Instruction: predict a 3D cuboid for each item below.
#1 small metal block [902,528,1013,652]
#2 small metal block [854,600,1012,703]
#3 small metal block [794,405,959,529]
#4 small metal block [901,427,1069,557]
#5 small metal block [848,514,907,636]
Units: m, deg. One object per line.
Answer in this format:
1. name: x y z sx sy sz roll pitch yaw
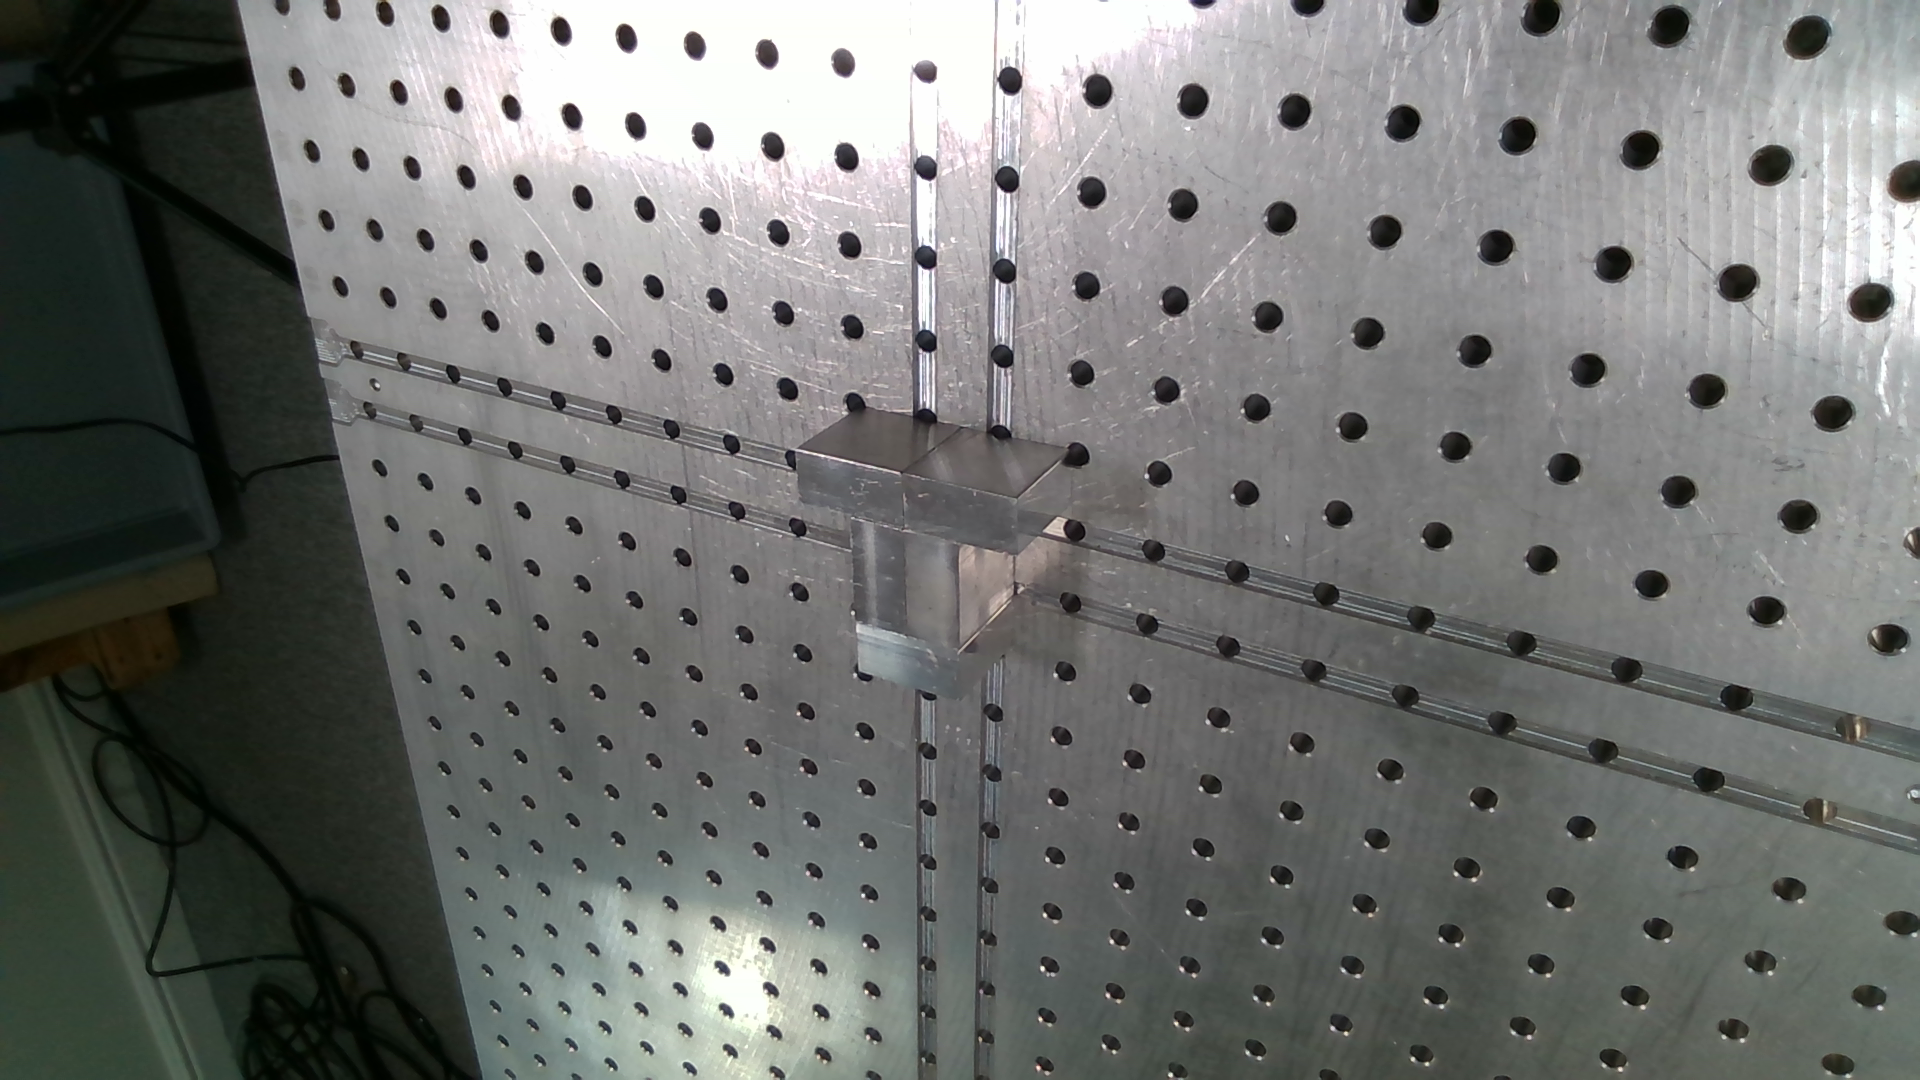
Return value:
1. small metal block: 0.000 0.010 0.571 0.025 0.050 0.050 14 122 25
2. small metal block: -0.011 0.041 0.595 0.050 0.050 0.025 14 122 25
3. small metal block: -0.033 -0.031 0.569 0.050 0.050 0.025 14 122 25
4. small metal block: 0.011 -0.020 0.548 0.050 0.050 0.025 14 122 25
5. small metal block: -0.022 0.005 0.582 0.025 0.050 0.050 14 122 25
